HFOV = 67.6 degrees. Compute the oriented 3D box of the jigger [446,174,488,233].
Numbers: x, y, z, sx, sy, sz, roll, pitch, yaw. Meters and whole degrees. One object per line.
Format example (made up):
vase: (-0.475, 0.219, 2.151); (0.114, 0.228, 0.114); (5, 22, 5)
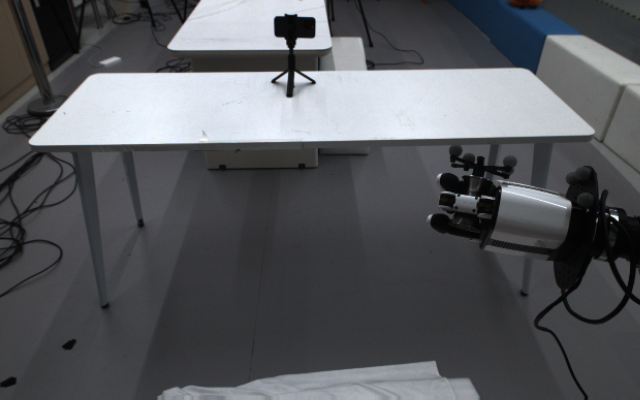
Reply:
jigger: (0.204, 0.004, 0.647); (0.043, 0.071, 0.043); (16, -7, 2)
